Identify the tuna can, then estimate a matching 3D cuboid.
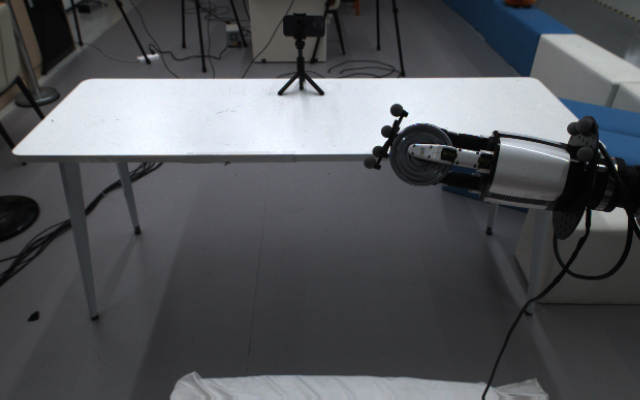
[{"bbox_3d":[0.139,-0.063,0.658,0.085,0.085,0.034,9,4,10],"label":"tuna can"}]
